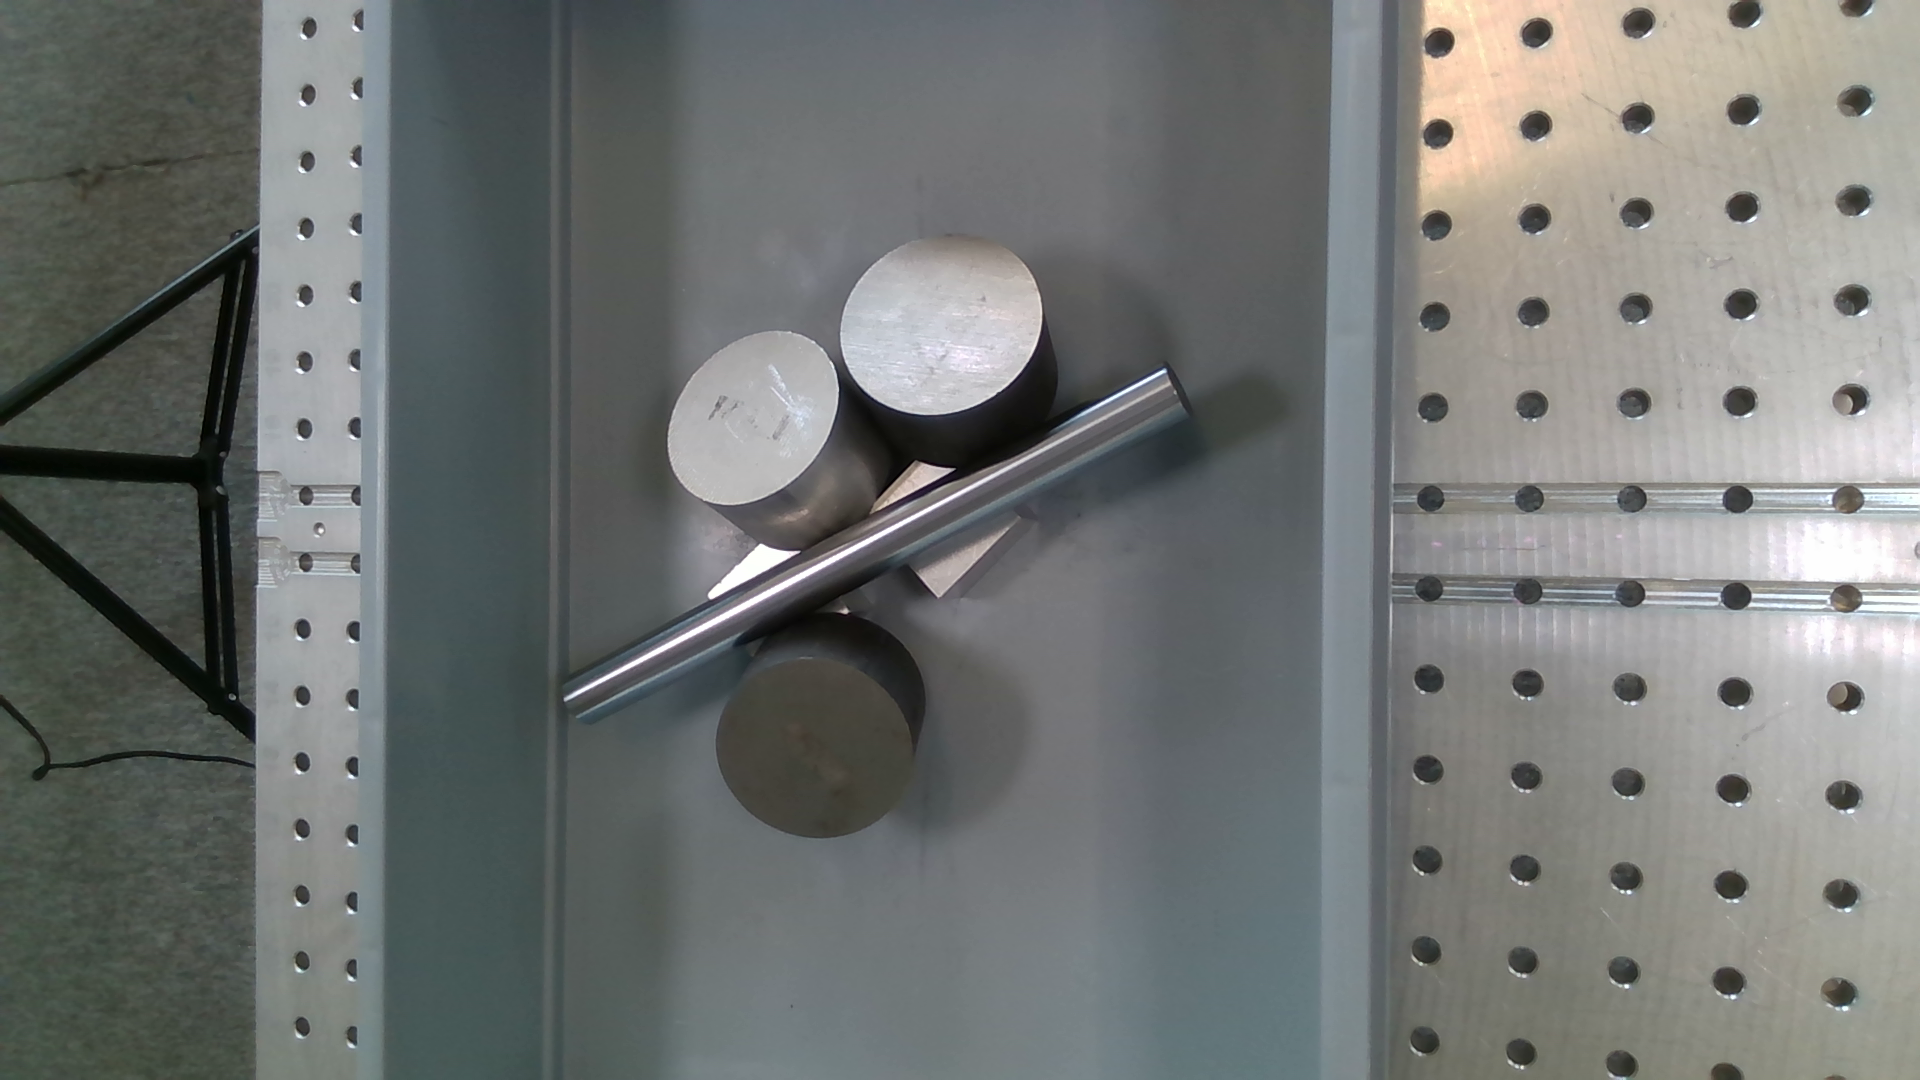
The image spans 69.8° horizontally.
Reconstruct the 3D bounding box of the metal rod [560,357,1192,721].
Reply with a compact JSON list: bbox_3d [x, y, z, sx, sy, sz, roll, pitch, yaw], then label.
[{"bbox_3d":[-0.044,0.006,0.574,0.300,0.025,0.025,-27,81,18],"label":"metal rod"}]

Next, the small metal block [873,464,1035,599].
[{"bbox_3d":[-0.004,-0.011,0.586,0.050,0.025,0.050,-45,76,15],"label":"small metal block"}]

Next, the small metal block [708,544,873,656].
[{"bbox_3d":[-0.076,0.027,0.613,0.050,0.025,0.050,-42,77,16],"label":"small metal block"}]

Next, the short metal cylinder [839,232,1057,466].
[{"bbox_3d":[-0.004,-0.077,0.557,0.080,0.050,0.080,-4,69,10],"label":"short metal cylinder"}]

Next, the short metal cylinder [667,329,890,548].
[{"bbox_3d":[-0.076,-0.042,0.585,0.080,0.050,0.080,-10,64,20],"label":"short metal cylinder"}]

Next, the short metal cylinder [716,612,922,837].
[{"bbox_3d":[-0.057,0.077,0.580,0.080,0.050,0.080,1,109,4],"label":"short metal cylinder"}]
